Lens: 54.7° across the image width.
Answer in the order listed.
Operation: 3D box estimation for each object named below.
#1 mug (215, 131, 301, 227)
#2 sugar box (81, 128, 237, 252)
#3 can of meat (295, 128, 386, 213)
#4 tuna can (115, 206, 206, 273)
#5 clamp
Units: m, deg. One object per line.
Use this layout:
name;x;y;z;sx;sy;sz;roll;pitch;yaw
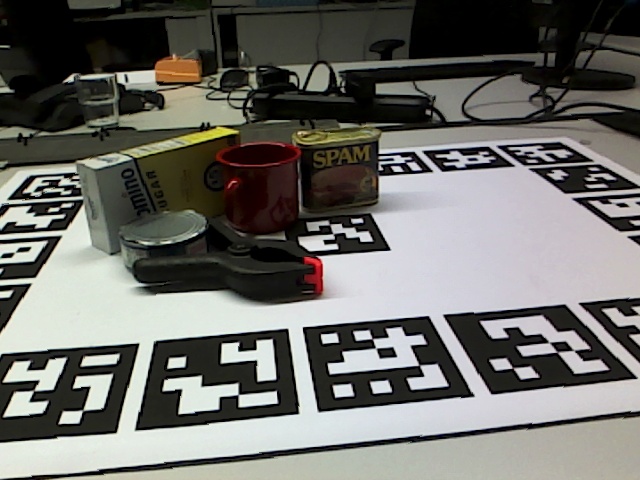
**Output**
mug;-0.070;-0.061;0.671;0.093;0.081;0.117;8;30;16
sugar box;-0.163;-0.059;0.677;0.045;0.092;0.175;22;33;40
can of meat;0.023;-0.083;0.729;0.101;0.083;0.058;-6;26;-14
tuna can;-0.155;0.000;0.609;0.086;0.033;0.086;-1;28;0
clamp;-0.072;0.024;0.569;0.166;0.036;0.121;17;27;23
